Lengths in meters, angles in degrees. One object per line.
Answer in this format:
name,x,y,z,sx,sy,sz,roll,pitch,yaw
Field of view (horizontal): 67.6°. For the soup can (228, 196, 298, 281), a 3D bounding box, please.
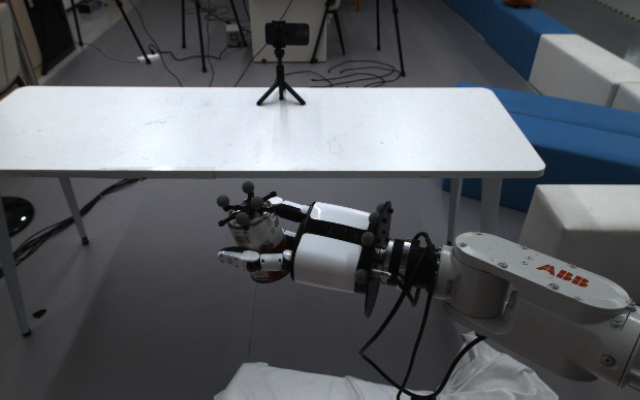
soup can,-0.081,0.058,0.679,0.067,0.101,0.067,-14,31,8
